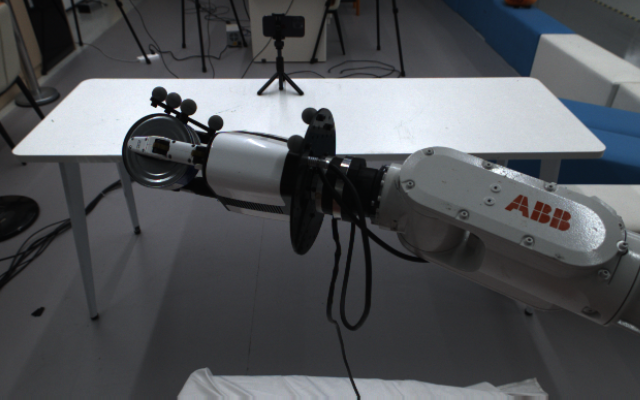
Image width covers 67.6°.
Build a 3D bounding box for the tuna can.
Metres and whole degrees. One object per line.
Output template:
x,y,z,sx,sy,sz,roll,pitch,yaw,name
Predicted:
-0.180,-0.054,0.561,0.085,0.085,0.034,9,-4,10,tuna can
